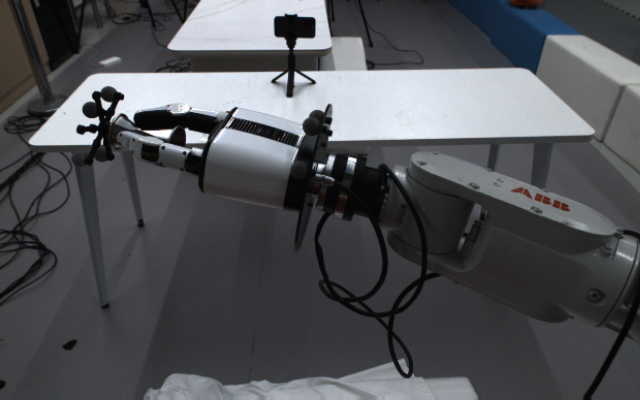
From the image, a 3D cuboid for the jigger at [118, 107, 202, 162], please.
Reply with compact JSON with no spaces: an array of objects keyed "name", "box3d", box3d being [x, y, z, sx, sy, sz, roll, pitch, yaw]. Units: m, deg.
[{"name":"jigger","box3d":[-0.180,-0.068,0.524,0.071,0.043,0.043,14,36,5]}]
